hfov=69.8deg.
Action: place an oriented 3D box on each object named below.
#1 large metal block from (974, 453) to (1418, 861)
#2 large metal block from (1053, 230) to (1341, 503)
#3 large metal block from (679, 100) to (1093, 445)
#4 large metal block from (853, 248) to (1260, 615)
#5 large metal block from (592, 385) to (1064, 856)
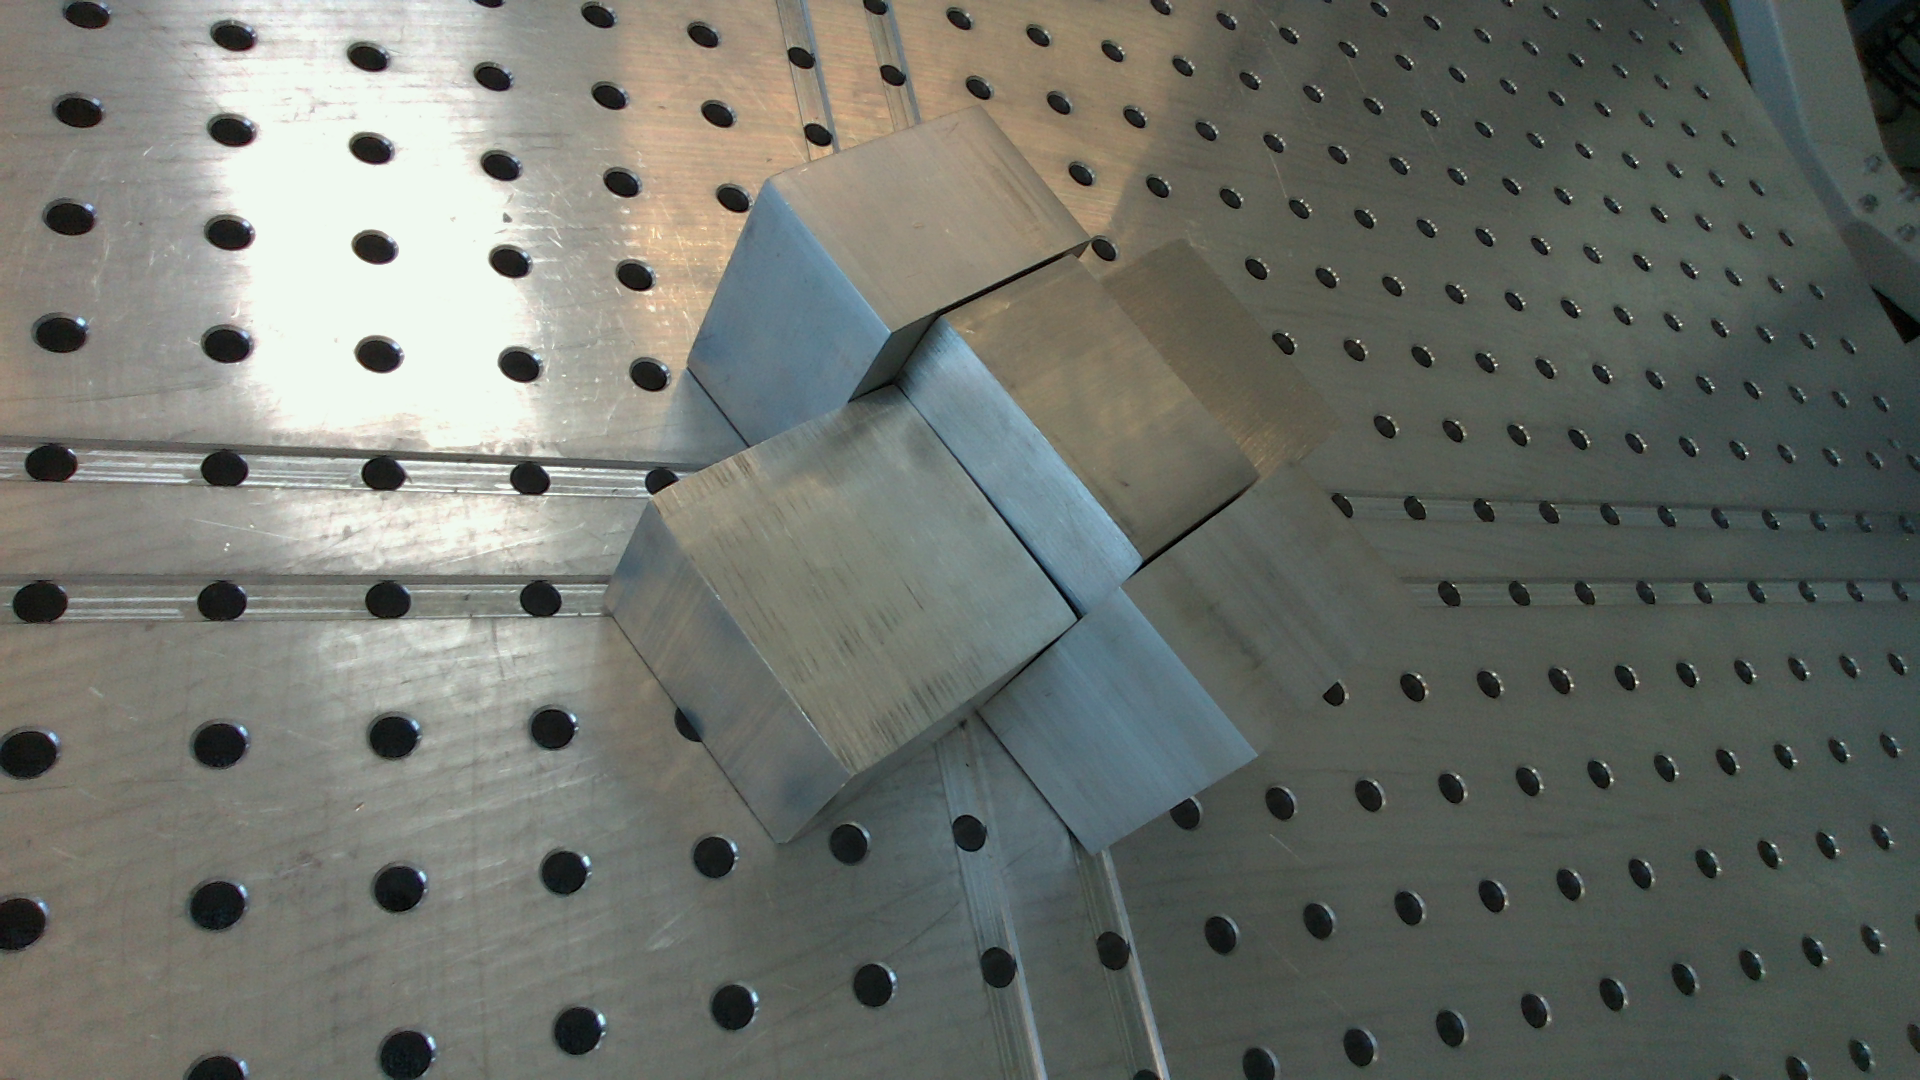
[{"bbox_3d":[0.062,0.032,0.371,0.080,0.080,0.050,-32,79,-39],"label":"large metal block"},{"bbox_3d":[0.058,-0.040,0.431,0.080,0.050,0.080,-32,82,-38],"label":"large metal block"},{"bbox_3d":[-0.022,-0.067,0.386,0.080,0.080,0.050,-32,79,-38],"label":"large metal block"},{"bbox_3d":[0.020,-0.018,0.379,0.050,0.080,0.080,-32,80,-38],"label":"large metal block"},{"bbox_3d":[-0.032,0.018,0.349,0.080,0.050,0.080,-30,78,-38],"label":"large metal block"}]
